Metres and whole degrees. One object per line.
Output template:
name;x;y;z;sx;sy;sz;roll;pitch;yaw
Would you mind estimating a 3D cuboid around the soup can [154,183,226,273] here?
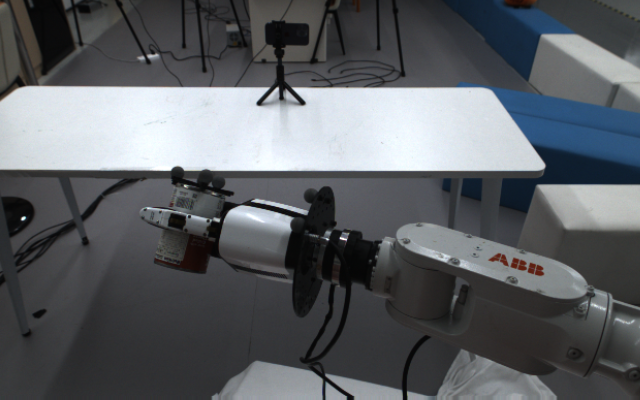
soup can;-0.163;0.038;0.614;0.067;0.101;0.067;13;-6;1
